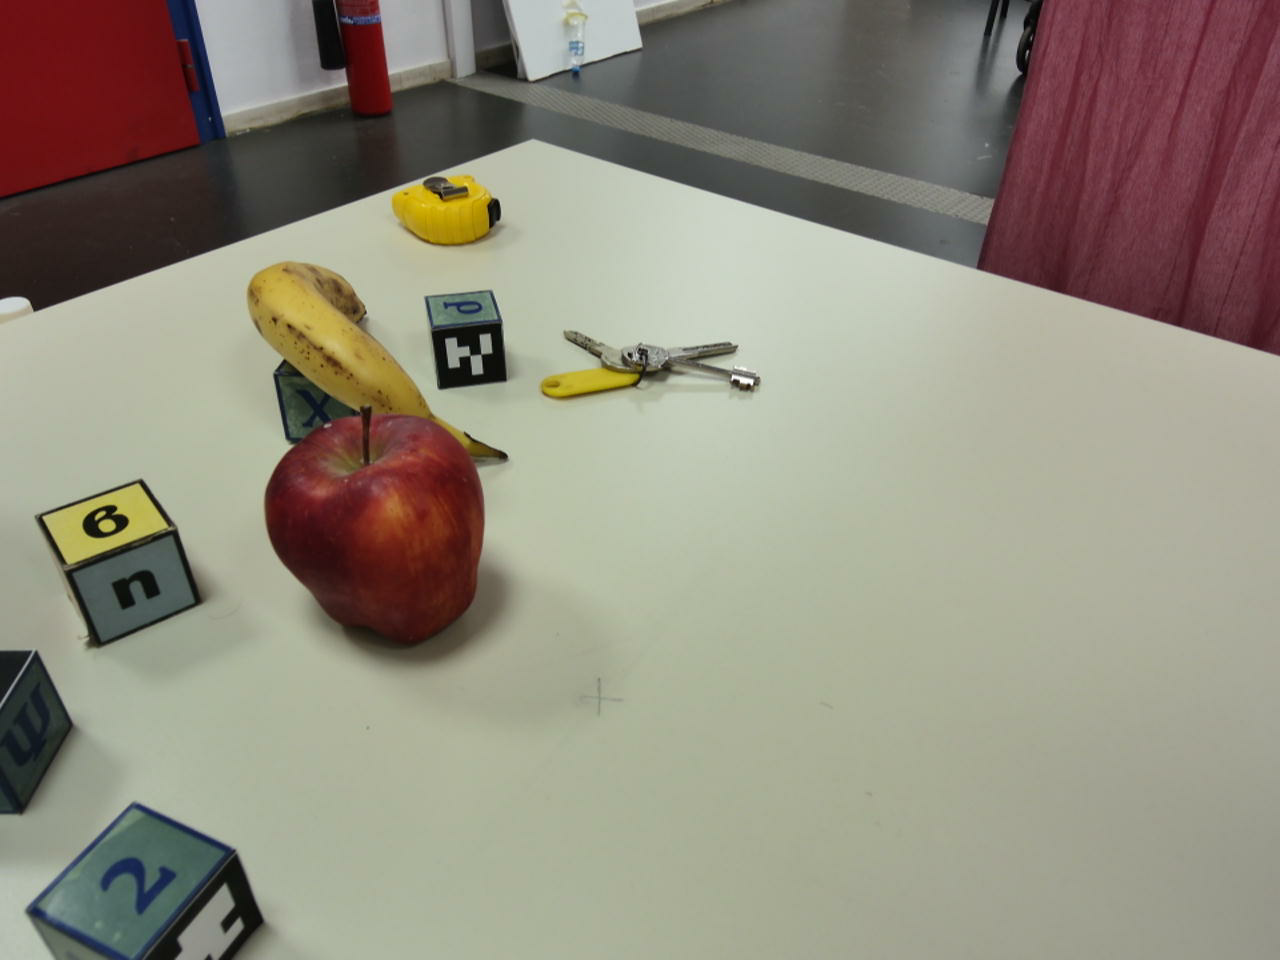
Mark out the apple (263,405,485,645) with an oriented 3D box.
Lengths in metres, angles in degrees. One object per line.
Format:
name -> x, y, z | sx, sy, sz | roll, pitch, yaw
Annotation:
apple -> -0.098, 0.013, 0.376 | 0.083, 0.090, 0.083 | 1, 35, 0
